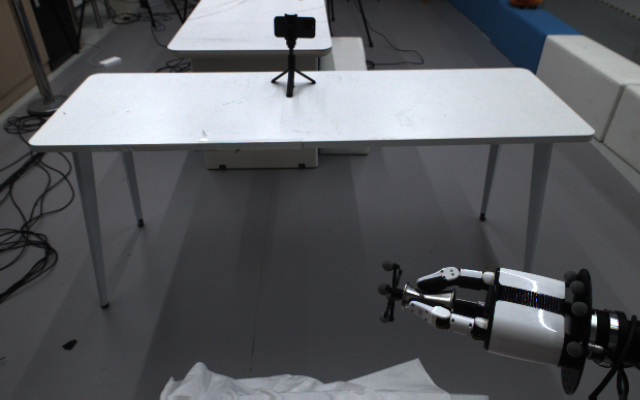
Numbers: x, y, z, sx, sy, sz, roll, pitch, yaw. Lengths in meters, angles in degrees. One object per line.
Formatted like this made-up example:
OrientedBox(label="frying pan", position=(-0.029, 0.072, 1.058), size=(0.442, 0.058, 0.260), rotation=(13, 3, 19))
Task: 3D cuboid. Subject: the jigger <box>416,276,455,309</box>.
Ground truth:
OrientedBox(label="jigger", position=(0.160, 0.137, 0.682), size=(0.071, 0.043, 0.043), rotation=(7, 34, 21))
